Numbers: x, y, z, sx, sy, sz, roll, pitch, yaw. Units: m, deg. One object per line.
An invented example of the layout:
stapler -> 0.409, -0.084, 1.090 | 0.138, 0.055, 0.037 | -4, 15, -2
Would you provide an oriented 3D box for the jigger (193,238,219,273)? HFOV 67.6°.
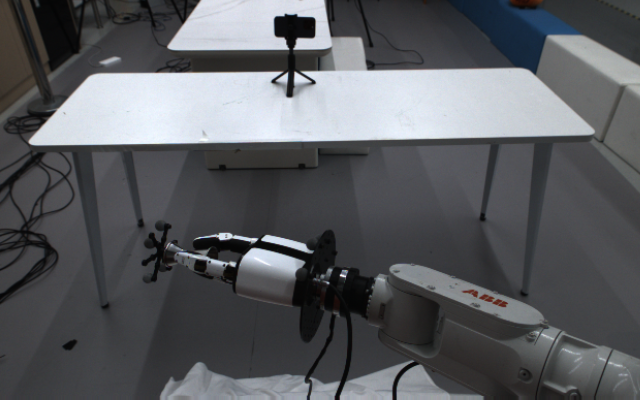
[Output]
jigger -> -0.187, 0.084, 0.722 | 0.071, 0.043, 0.043 | 8, 35, 13
